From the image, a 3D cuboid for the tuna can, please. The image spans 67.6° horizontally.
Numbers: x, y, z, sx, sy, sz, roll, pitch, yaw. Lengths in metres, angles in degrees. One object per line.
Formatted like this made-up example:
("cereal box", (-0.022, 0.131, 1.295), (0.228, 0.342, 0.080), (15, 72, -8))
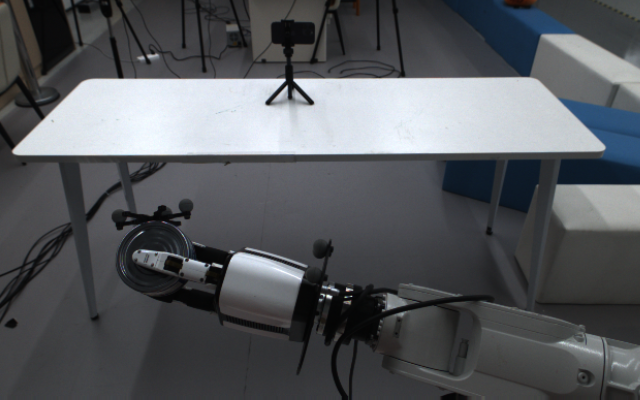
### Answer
("tuna can", (-0.187, 0.074, 0.563), (0.085, 0.034, 0.085), (0, 72, -1))
